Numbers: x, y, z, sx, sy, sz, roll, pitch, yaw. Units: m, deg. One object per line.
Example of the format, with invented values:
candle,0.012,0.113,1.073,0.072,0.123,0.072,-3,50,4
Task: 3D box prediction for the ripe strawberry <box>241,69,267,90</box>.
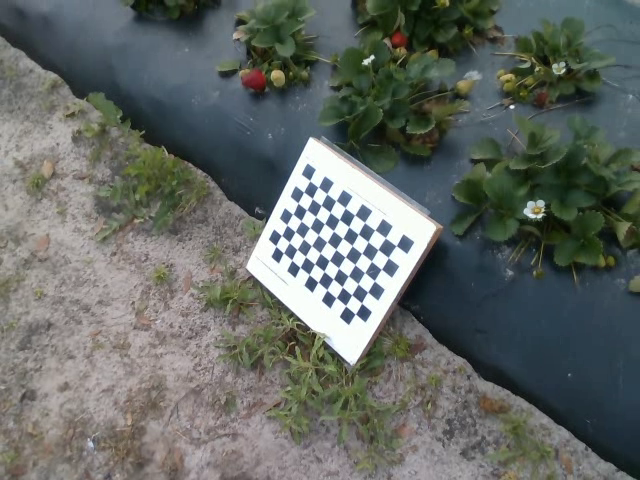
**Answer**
ripe strawberry,-0.139,-0.318,1.380,0.059,0.046,0.046,-23,44,-40
